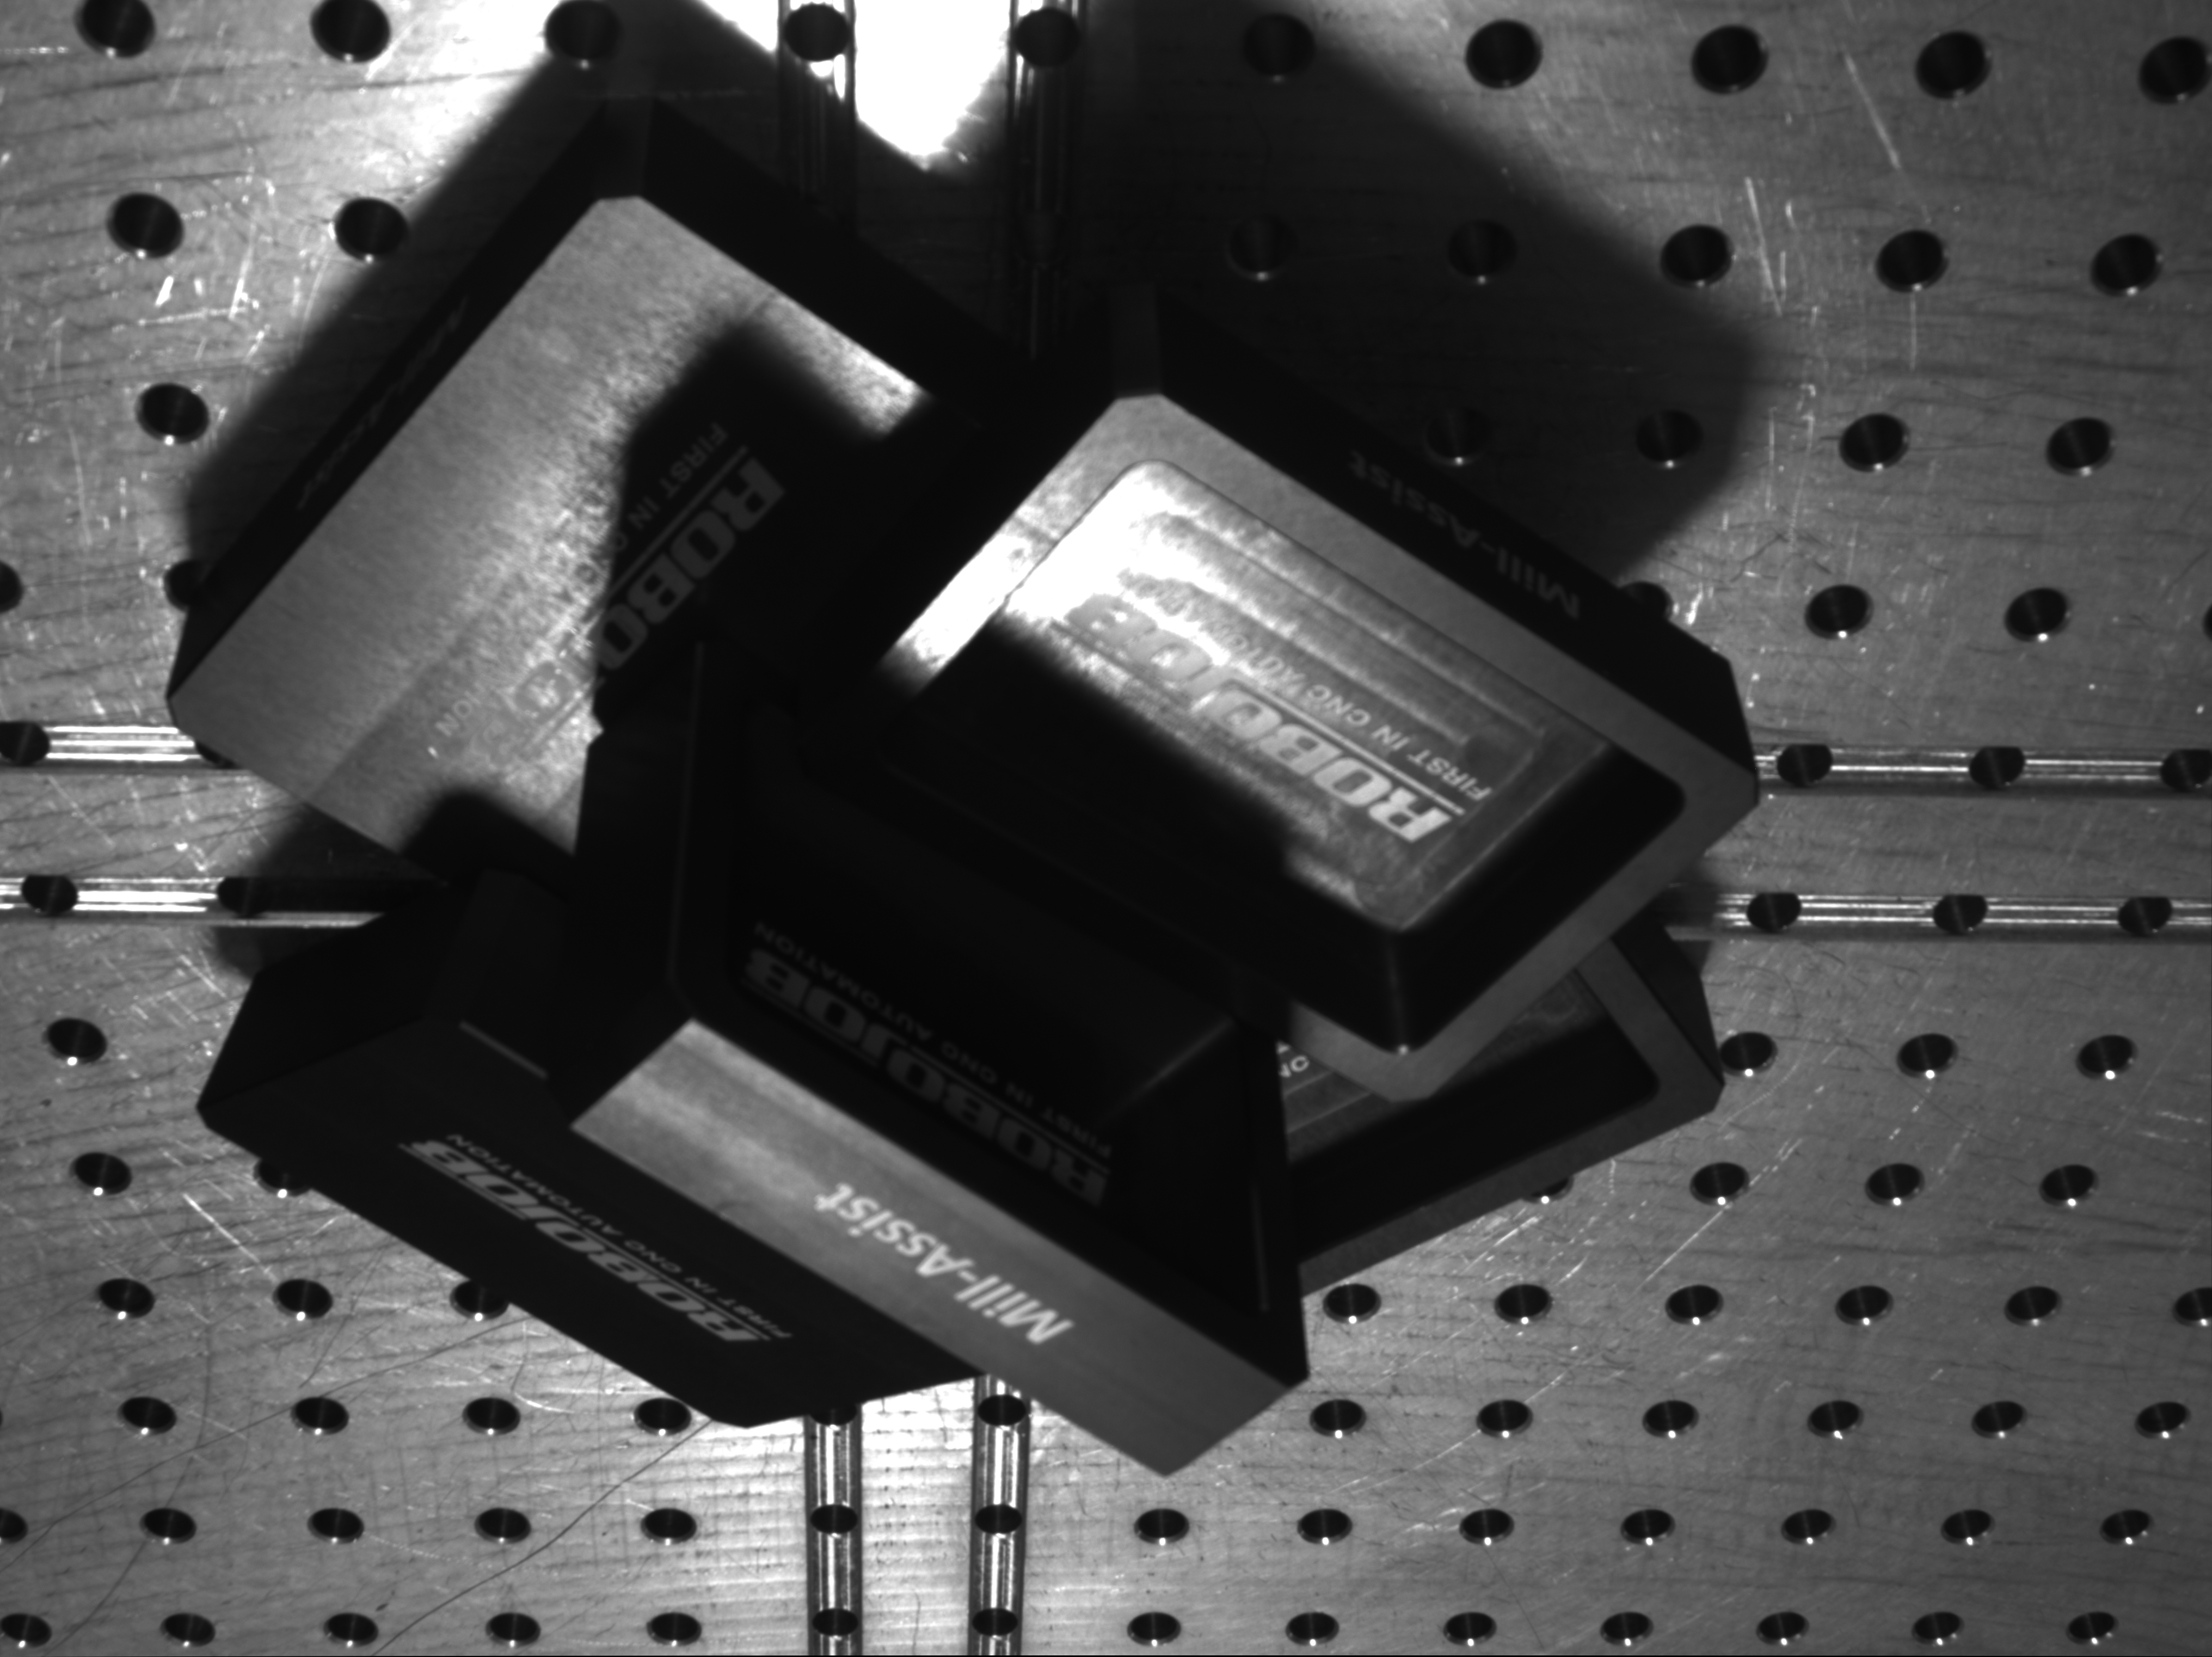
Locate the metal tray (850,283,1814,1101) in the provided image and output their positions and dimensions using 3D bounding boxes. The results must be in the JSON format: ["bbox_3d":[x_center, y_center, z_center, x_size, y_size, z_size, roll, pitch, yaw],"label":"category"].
[{"bbox_3d":[0.036,-0.018,0.585,0.130,0.030,0.090,30,123,-24],"label":"metal tray"}]

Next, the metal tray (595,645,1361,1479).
[{"bbox_3d":[-0.018,0.037,0.590,0.130,0.090,0.030,34,121,-26],"label":"metal tray"}]

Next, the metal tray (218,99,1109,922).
[{"bbox_3d":[-0.072,-0.044,0.597,0.090,0.030,0.130,32,122,-25],"label":"metal tray"}]

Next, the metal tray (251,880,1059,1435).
[{"bbox_3d":[-0.077,0.064,0.665,0.130,0.030,0.090,36,146,-27],"label":"metal tray"}]

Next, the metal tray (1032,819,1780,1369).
[{"bbox_3d":[0.045,0.041,0.673,0.130,0.030,0.090,-27,126,19],"label":"metal tray"}]
